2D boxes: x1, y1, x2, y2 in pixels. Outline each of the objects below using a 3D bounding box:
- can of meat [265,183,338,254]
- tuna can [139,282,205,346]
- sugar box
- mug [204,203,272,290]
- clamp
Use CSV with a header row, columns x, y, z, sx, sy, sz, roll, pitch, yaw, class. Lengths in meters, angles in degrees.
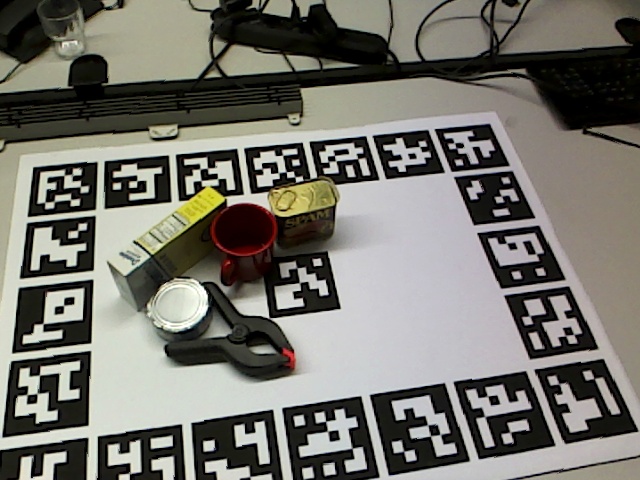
x,y,z,sx,sy,sz,roll,pitch,yaw,class
-0.029,-0.031,0.925,0.101,0.083,0.058,-13,55,-14,can of meat
-0.201,0.102,0.844,0.086,0.033,0.086,1,57,-2,tuna can
-0.212,0.018,0.875,0.045,0.092,0.176,36,59,22,sugar box
-0.118,0.018,0.876,0.093,0.081,0.117,14,57,6,mug
-0.115,0.141,0.828,0.165,0.036,0.122,25,53,9,clamp
